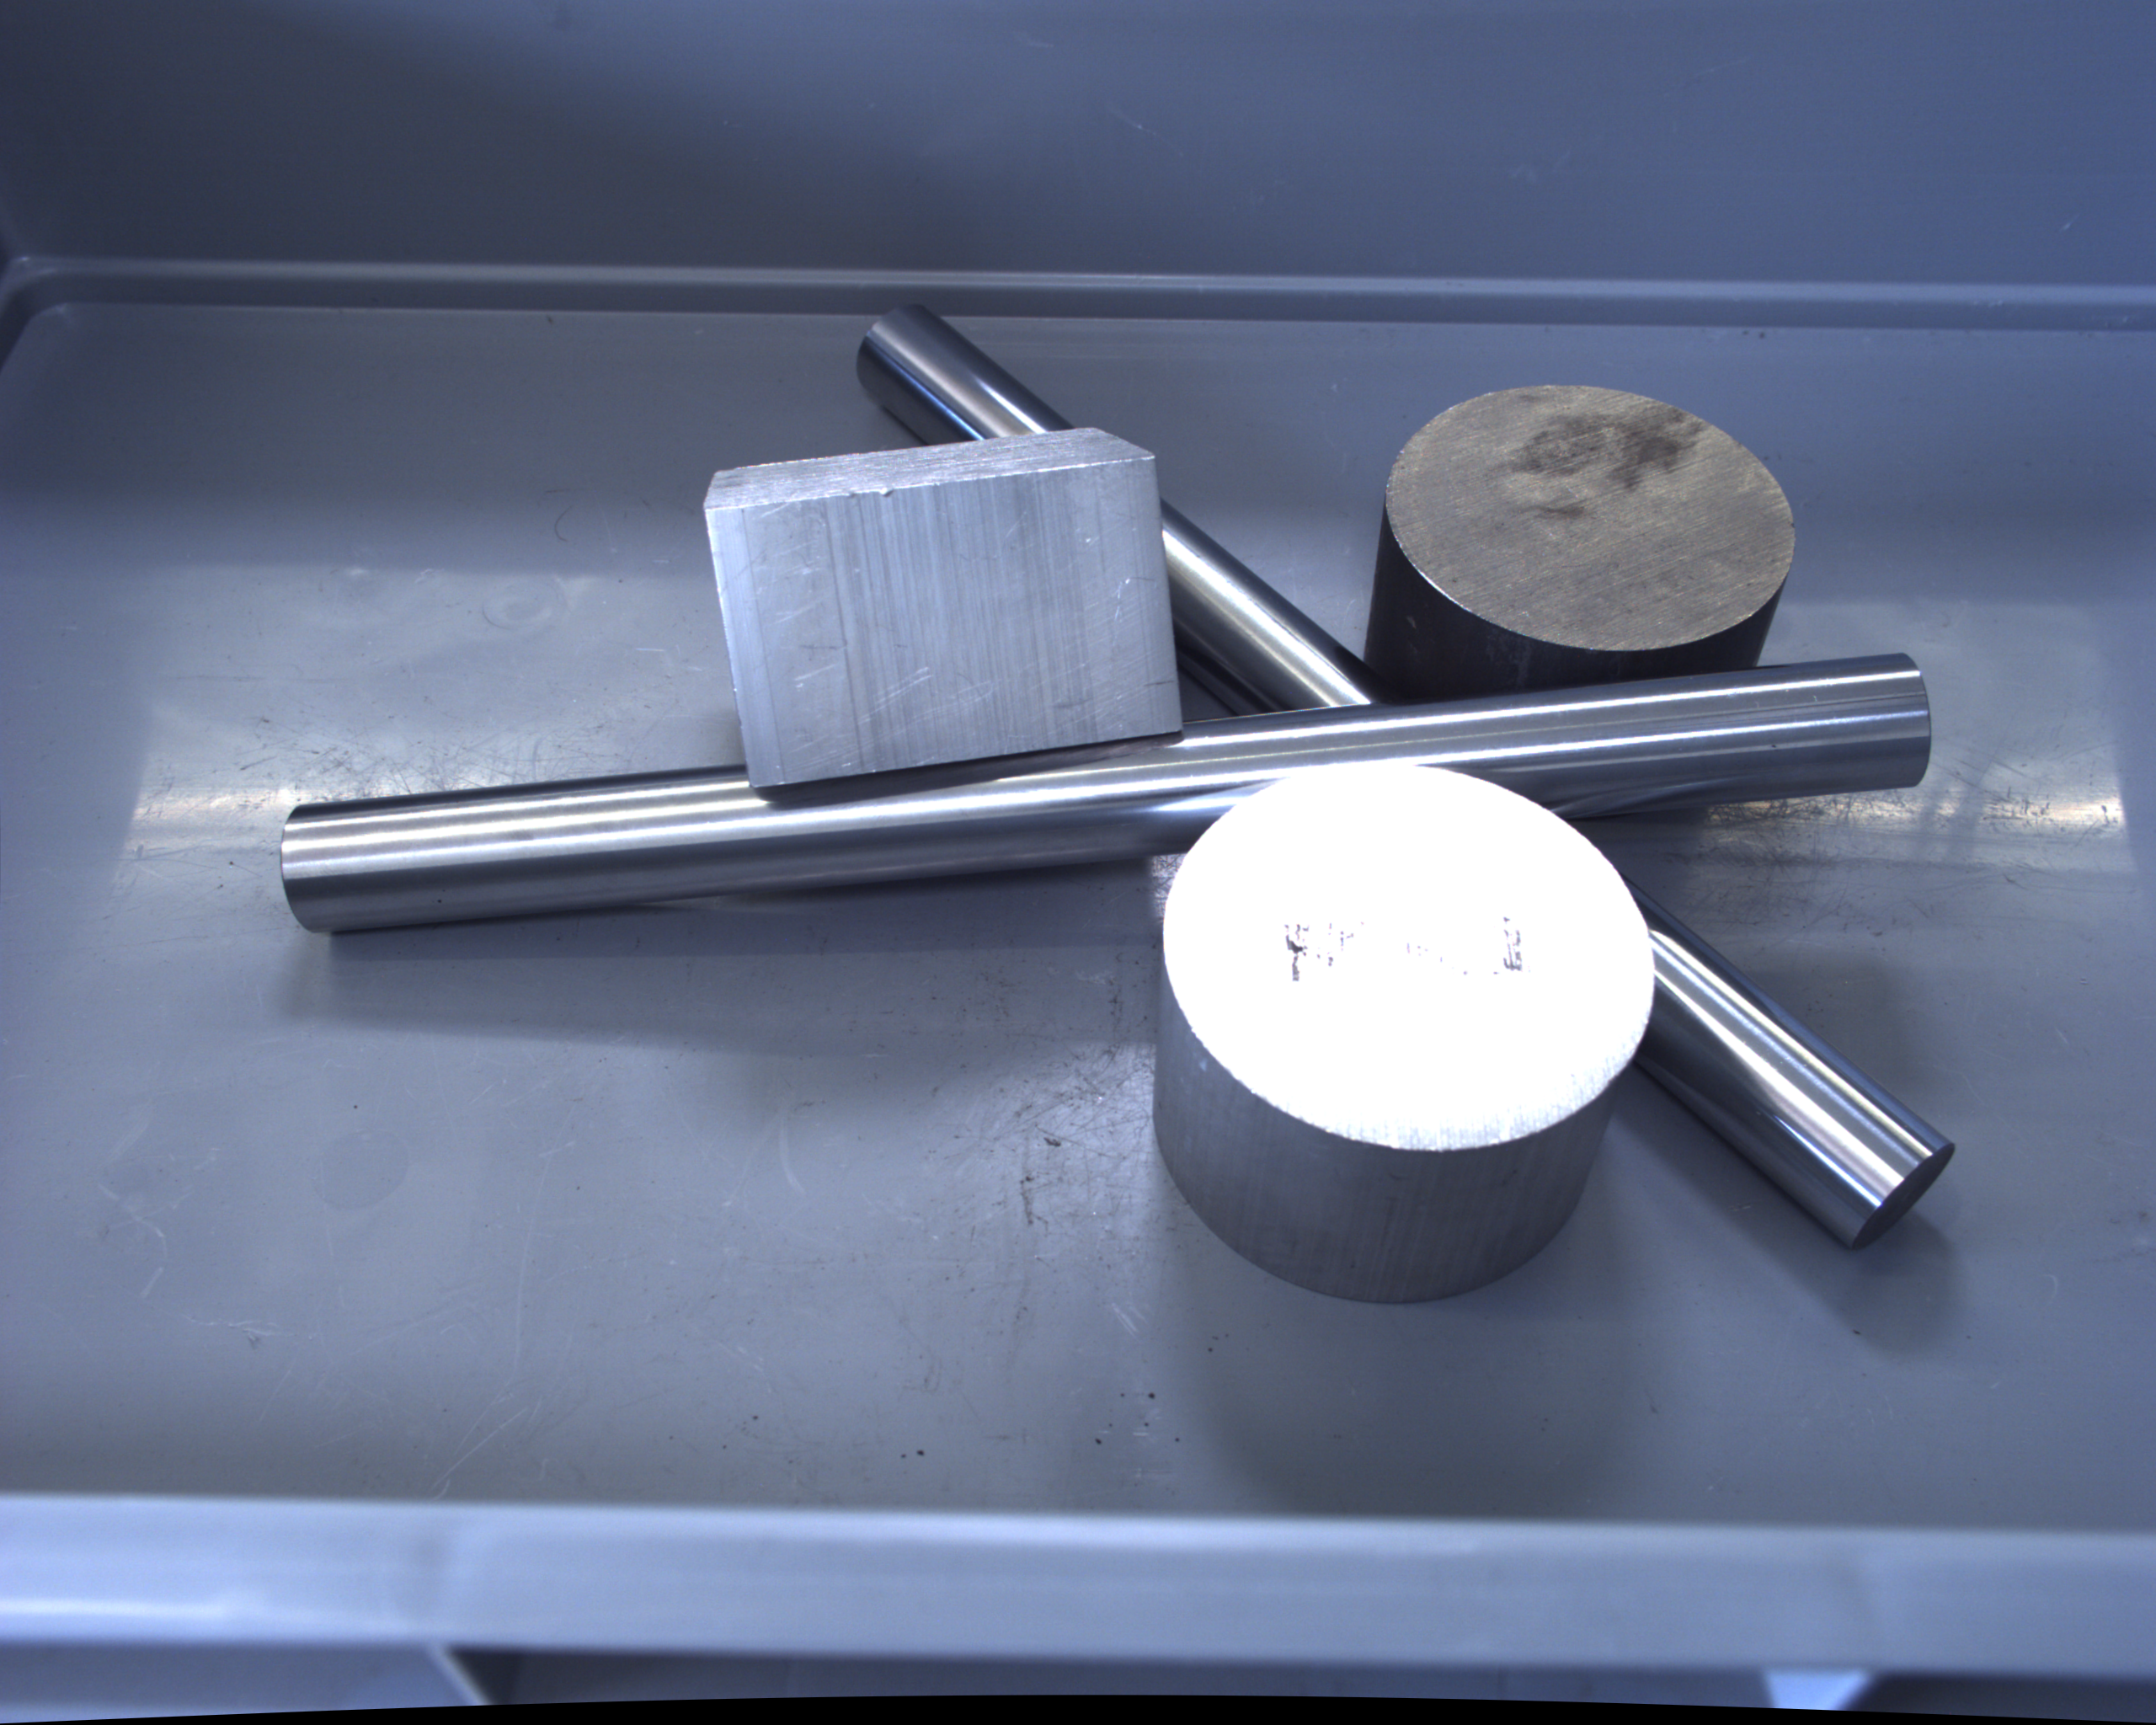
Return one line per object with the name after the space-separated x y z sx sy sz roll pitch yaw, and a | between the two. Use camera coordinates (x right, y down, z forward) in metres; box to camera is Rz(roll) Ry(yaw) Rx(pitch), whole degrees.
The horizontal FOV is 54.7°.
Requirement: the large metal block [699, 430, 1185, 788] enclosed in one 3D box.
-0.028 -0.053 0.407 0.081 0.050 0.080 -8 16 -6 | large metal block

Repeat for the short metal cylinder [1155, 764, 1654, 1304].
0.054 0.029 0.363 0.081 0.050 0.080 0 50 0 | short metal cylinder

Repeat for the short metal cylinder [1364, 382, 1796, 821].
0.102 -0.055 0.434 0.081 0.050 0.080 0 50 0 | short metal cylinder

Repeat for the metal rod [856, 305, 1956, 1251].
0.049 -0.033 0.432 0.025 0.025 0.300 -31 57 -23 | metal rod

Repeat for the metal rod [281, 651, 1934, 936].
0.003 -0.012 0.391 0.302 0.025 0.025 -5 50 3 | metal rod
